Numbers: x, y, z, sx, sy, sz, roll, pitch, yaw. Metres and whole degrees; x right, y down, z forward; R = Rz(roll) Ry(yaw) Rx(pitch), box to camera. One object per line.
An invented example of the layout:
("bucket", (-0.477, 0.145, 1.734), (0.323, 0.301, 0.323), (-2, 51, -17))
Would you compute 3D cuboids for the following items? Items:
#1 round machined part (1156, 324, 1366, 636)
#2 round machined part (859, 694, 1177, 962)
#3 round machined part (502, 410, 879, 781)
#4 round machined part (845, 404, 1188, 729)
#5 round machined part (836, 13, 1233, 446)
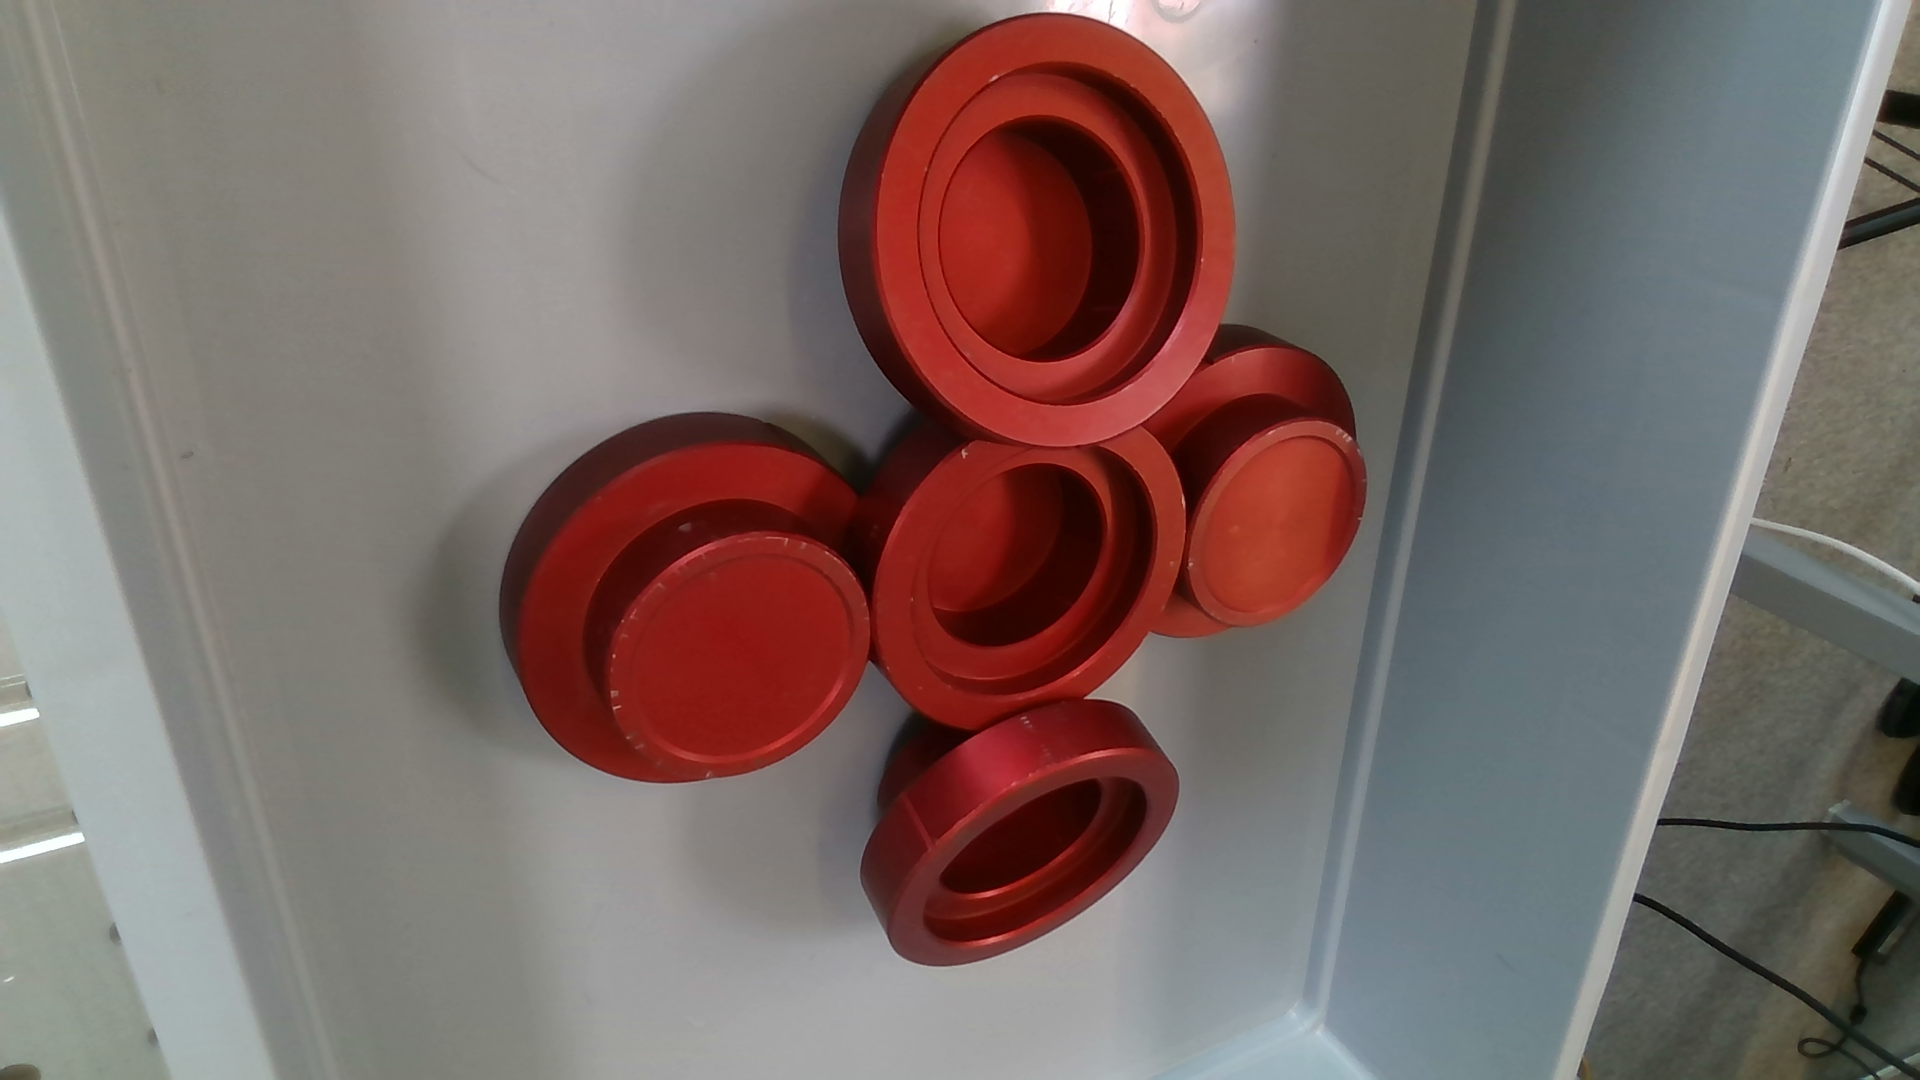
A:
("round machined part", (0.084, -0.013, 0.422), (0.098, 0.042, 0.098), (-14, 122, -25))
("round machined part", (0.014, 0.081, 0.419), (0.098, 0.042, 0.098), (-20, 140, -18))
("round machined part", (-0.062, 0.020, 0.350), (0.098, 0.042, 0.098), (-14, 122, -25))
("round machined part", (0.012, 0.000, 0.384), (0.098, 0.042, 0.098), (-14, 122, -25))
("round machined part", (0.015, -0.073, 0.336), (0.098, 0.042, 0.098), (-4, 100, -27))
